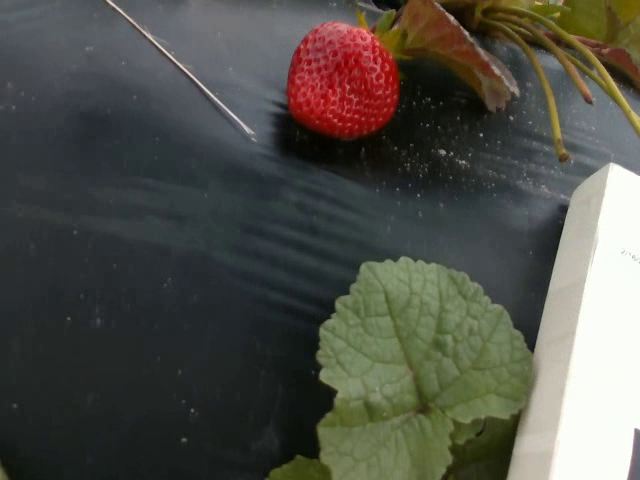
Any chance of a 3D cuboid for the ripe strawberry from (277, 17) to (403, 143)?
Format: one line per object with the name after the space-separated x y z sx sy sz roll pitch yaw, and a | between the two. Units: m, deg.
0.003 -0.035 0.138 0.028 0.033 0.023 38 -32 8 | ripe strawberry
